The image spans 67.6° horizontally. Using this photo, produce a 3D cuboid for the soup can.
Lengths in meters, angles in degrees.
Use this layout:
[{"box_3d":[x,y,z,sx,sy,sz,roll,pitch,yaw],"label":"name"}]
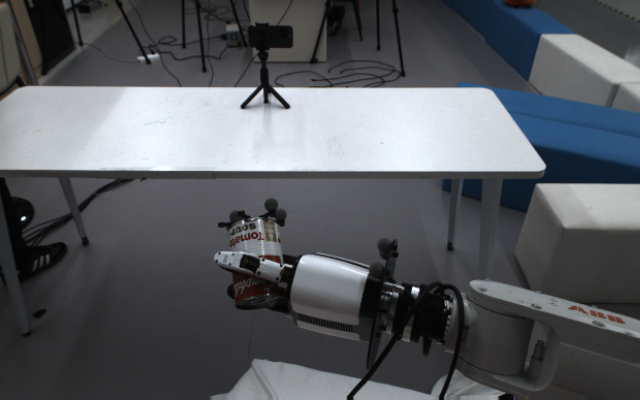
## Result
[{"box_3d":[-0.077,0.082,0.615,0.067,0.067,0.101,-6,67,-12],"label":"soup can"}]
